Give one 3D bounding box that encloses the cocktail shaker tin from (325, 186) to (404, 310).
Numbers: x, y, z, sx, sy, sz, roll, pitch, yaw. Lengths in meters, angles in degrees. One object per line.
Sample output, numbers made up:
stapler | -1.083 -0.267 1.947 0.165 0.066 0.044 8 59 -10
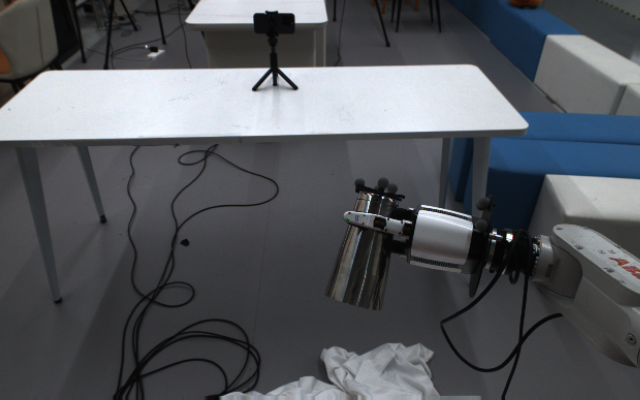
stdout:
cocktail shaker tin | 0.074 0.076 0.768 0.093 0.170 0.093 15 -5 1
